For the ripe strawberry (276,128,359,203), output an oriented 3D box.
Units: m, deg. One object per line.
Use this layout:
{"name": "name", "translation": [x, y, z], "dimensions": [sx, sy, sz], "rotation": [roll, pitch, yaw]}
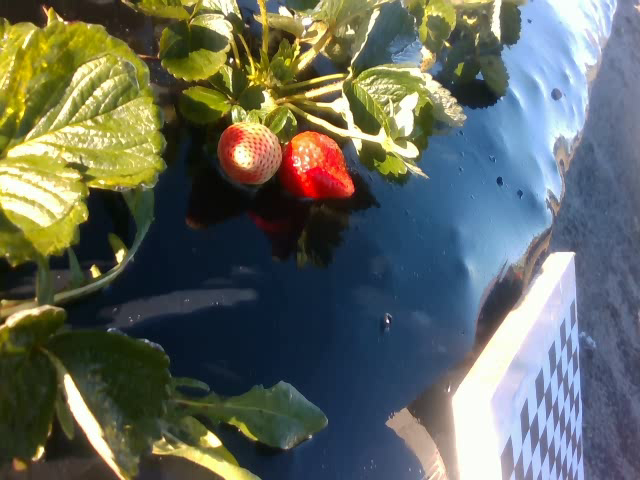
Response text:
{"name": "ripe strawberry", "translation": [0.005, -0.035, 0.306], "dimensions": [0.040, 0.038, 0.055], "rotation": [-33, 33, -23]}
